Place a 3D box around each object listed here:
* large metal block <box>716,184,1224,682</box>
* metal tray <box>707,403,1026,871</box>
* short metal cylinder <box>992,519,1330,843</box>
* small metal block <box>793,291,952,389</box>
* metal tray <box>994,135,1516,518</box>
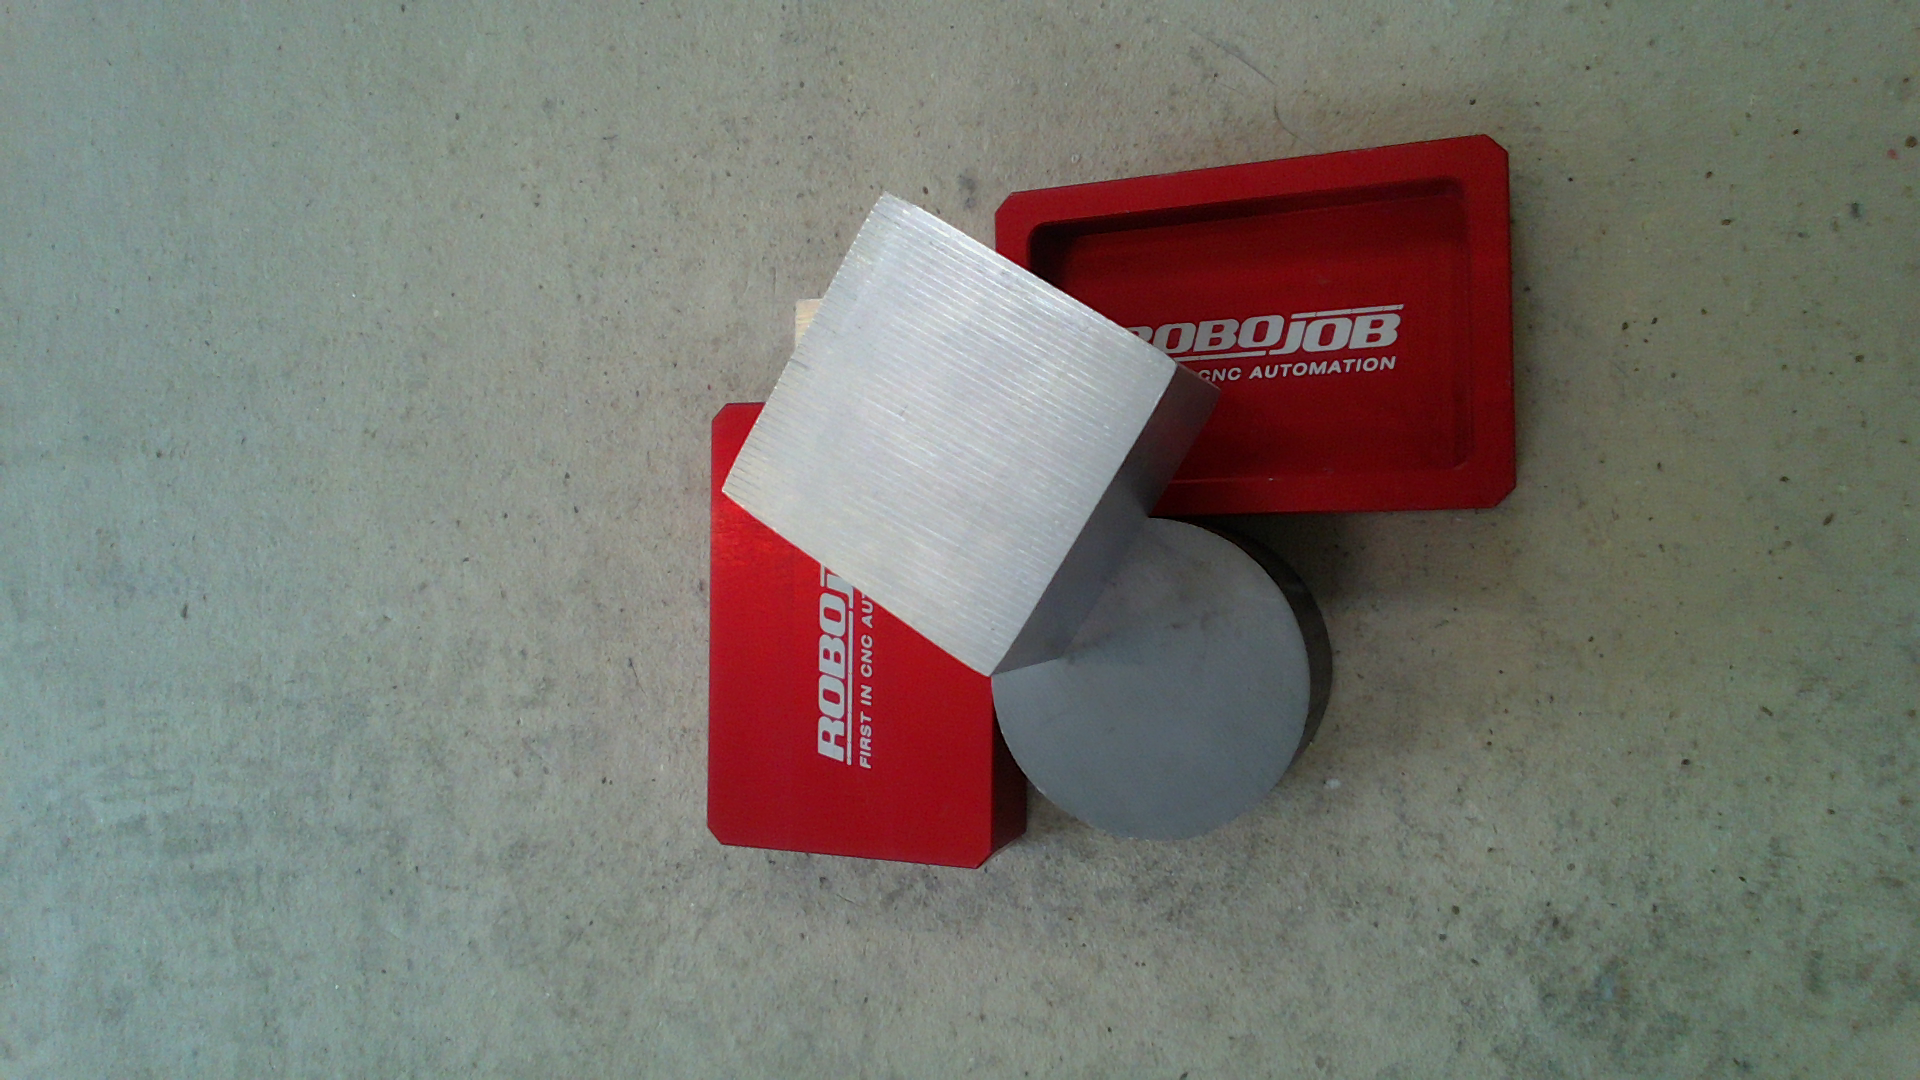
[{"bbox_3d":[0.003,-0.024,0.327,0.080,0.050,0.080,34,101,17],"label":"large metal block"},{"bbox_3d":[-0.027,0.025,0.404,0.090,0.030,0.130,1,90,20],"label":"metal tray"},{"bbox_3d":[0.054,0.035,0.363,0.080,0.050,0.080,0,90,21],"label":"short metal cylinder"},{"bbox_3d":[-0.013,-0.052,0.388,0.050,0.050,0.025,1,90,20],"label":"small metal block"},{"bbox_3d":[0.076,-0.051,0.366,0.130,0.030,0.090,-2,89,20],"label":"metal tray"}]
